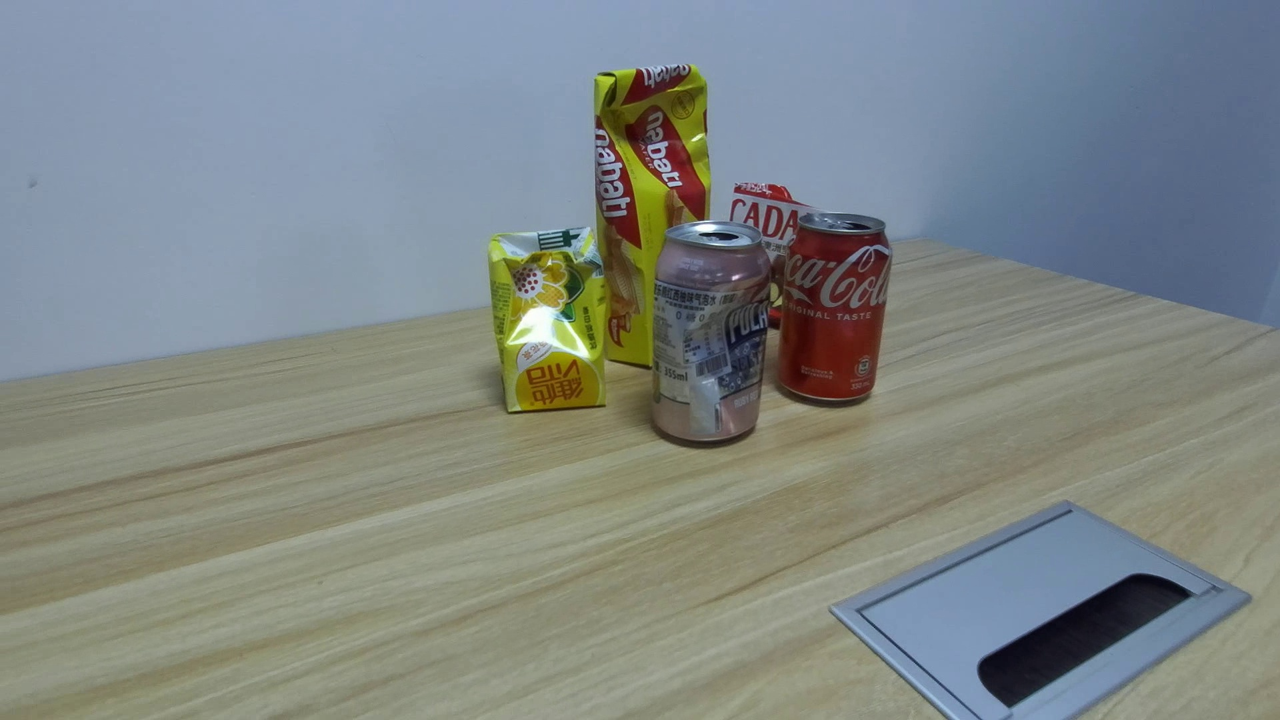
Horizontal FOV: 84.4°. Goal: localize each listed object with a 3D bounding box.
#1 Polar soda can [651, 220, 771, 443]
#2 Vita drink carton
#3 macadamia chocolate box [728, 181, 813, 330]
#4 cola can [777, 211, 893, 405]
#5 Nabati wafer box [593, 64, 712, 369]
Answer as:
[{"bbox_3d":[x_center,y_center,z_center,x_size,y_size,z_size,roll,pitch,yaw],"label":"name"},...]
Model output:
[{"bbox_3d":[0.043,-0.015,0.416,0.074,0.122,0.067,-5,22,-10],"label":"Polar soda can"},{"bbox_3d":[-0.057,-0.025,0.453,0.071,0.110,0.046,-5,20,-8],"label":"Vita drink carton"},{"bbox_3d":[0.132,-0.084,0.589,0.126,0.112,0.056,18,28,35],"label":"macadamia chocolate box"},{"bbox_3d":[0.127,-0.035,0.465,0.068,0.120,0.068,0,23,0],"label":"cola can"},{"bbox_3d":[0.012,-0.103,0.517,0.042,0.205,0.113,13,27,30],"label":"Nabati wafer box"}]
